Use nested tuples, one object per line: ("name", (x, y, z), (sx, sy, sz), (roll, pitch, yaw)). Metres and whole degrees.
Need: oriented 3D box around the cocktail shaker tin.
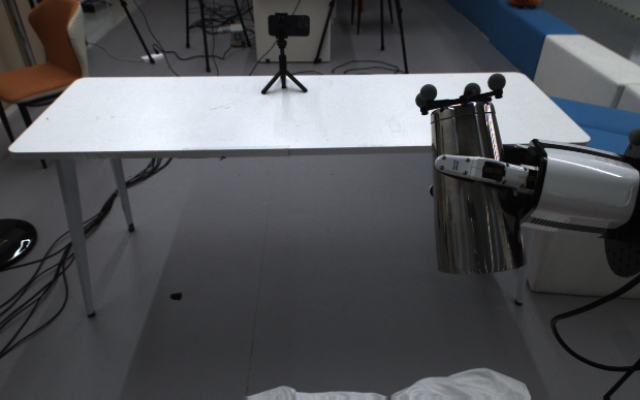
("cocktail shaker tin", (0.164, -0.014, 0.521), (0.093, 0.170, 0.093), (-8, 1, 0))
